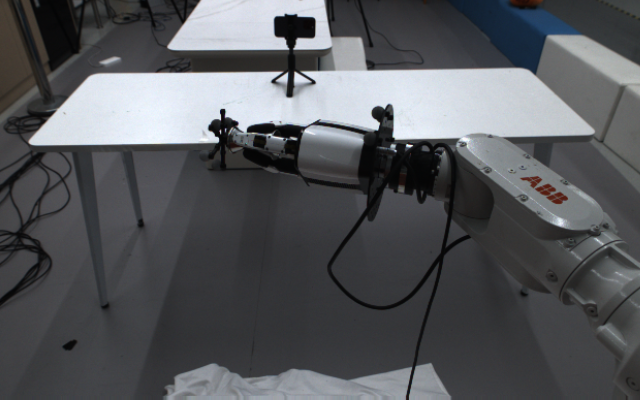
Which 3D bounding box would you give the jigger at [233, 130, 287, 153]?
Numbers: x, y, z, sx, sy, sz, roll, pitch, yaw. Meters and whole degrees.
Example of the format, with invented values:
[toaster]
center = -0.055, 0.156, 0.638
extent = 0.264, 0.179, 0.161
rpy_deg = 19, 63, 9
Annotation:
[jigger]
center = -0.089, -0.087, 0.699
extent = 0.071, 0.043, 0.043
rpy_deg = 8, 35, 15
